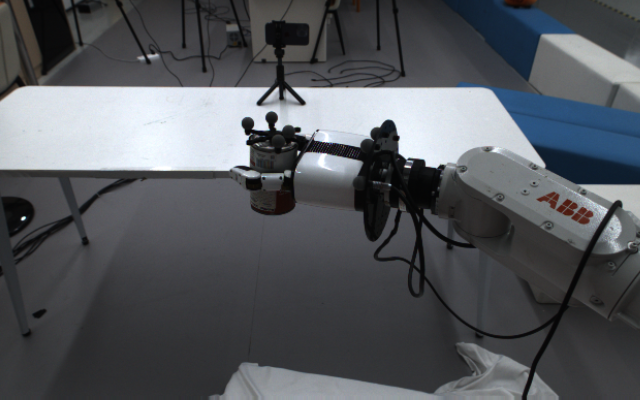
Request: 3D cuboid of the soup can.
[{"bbox_3d":[-0.065,-0.037,0.681,0.067,0.101,0.067,4,30,-2],"label":"soup can"}]
